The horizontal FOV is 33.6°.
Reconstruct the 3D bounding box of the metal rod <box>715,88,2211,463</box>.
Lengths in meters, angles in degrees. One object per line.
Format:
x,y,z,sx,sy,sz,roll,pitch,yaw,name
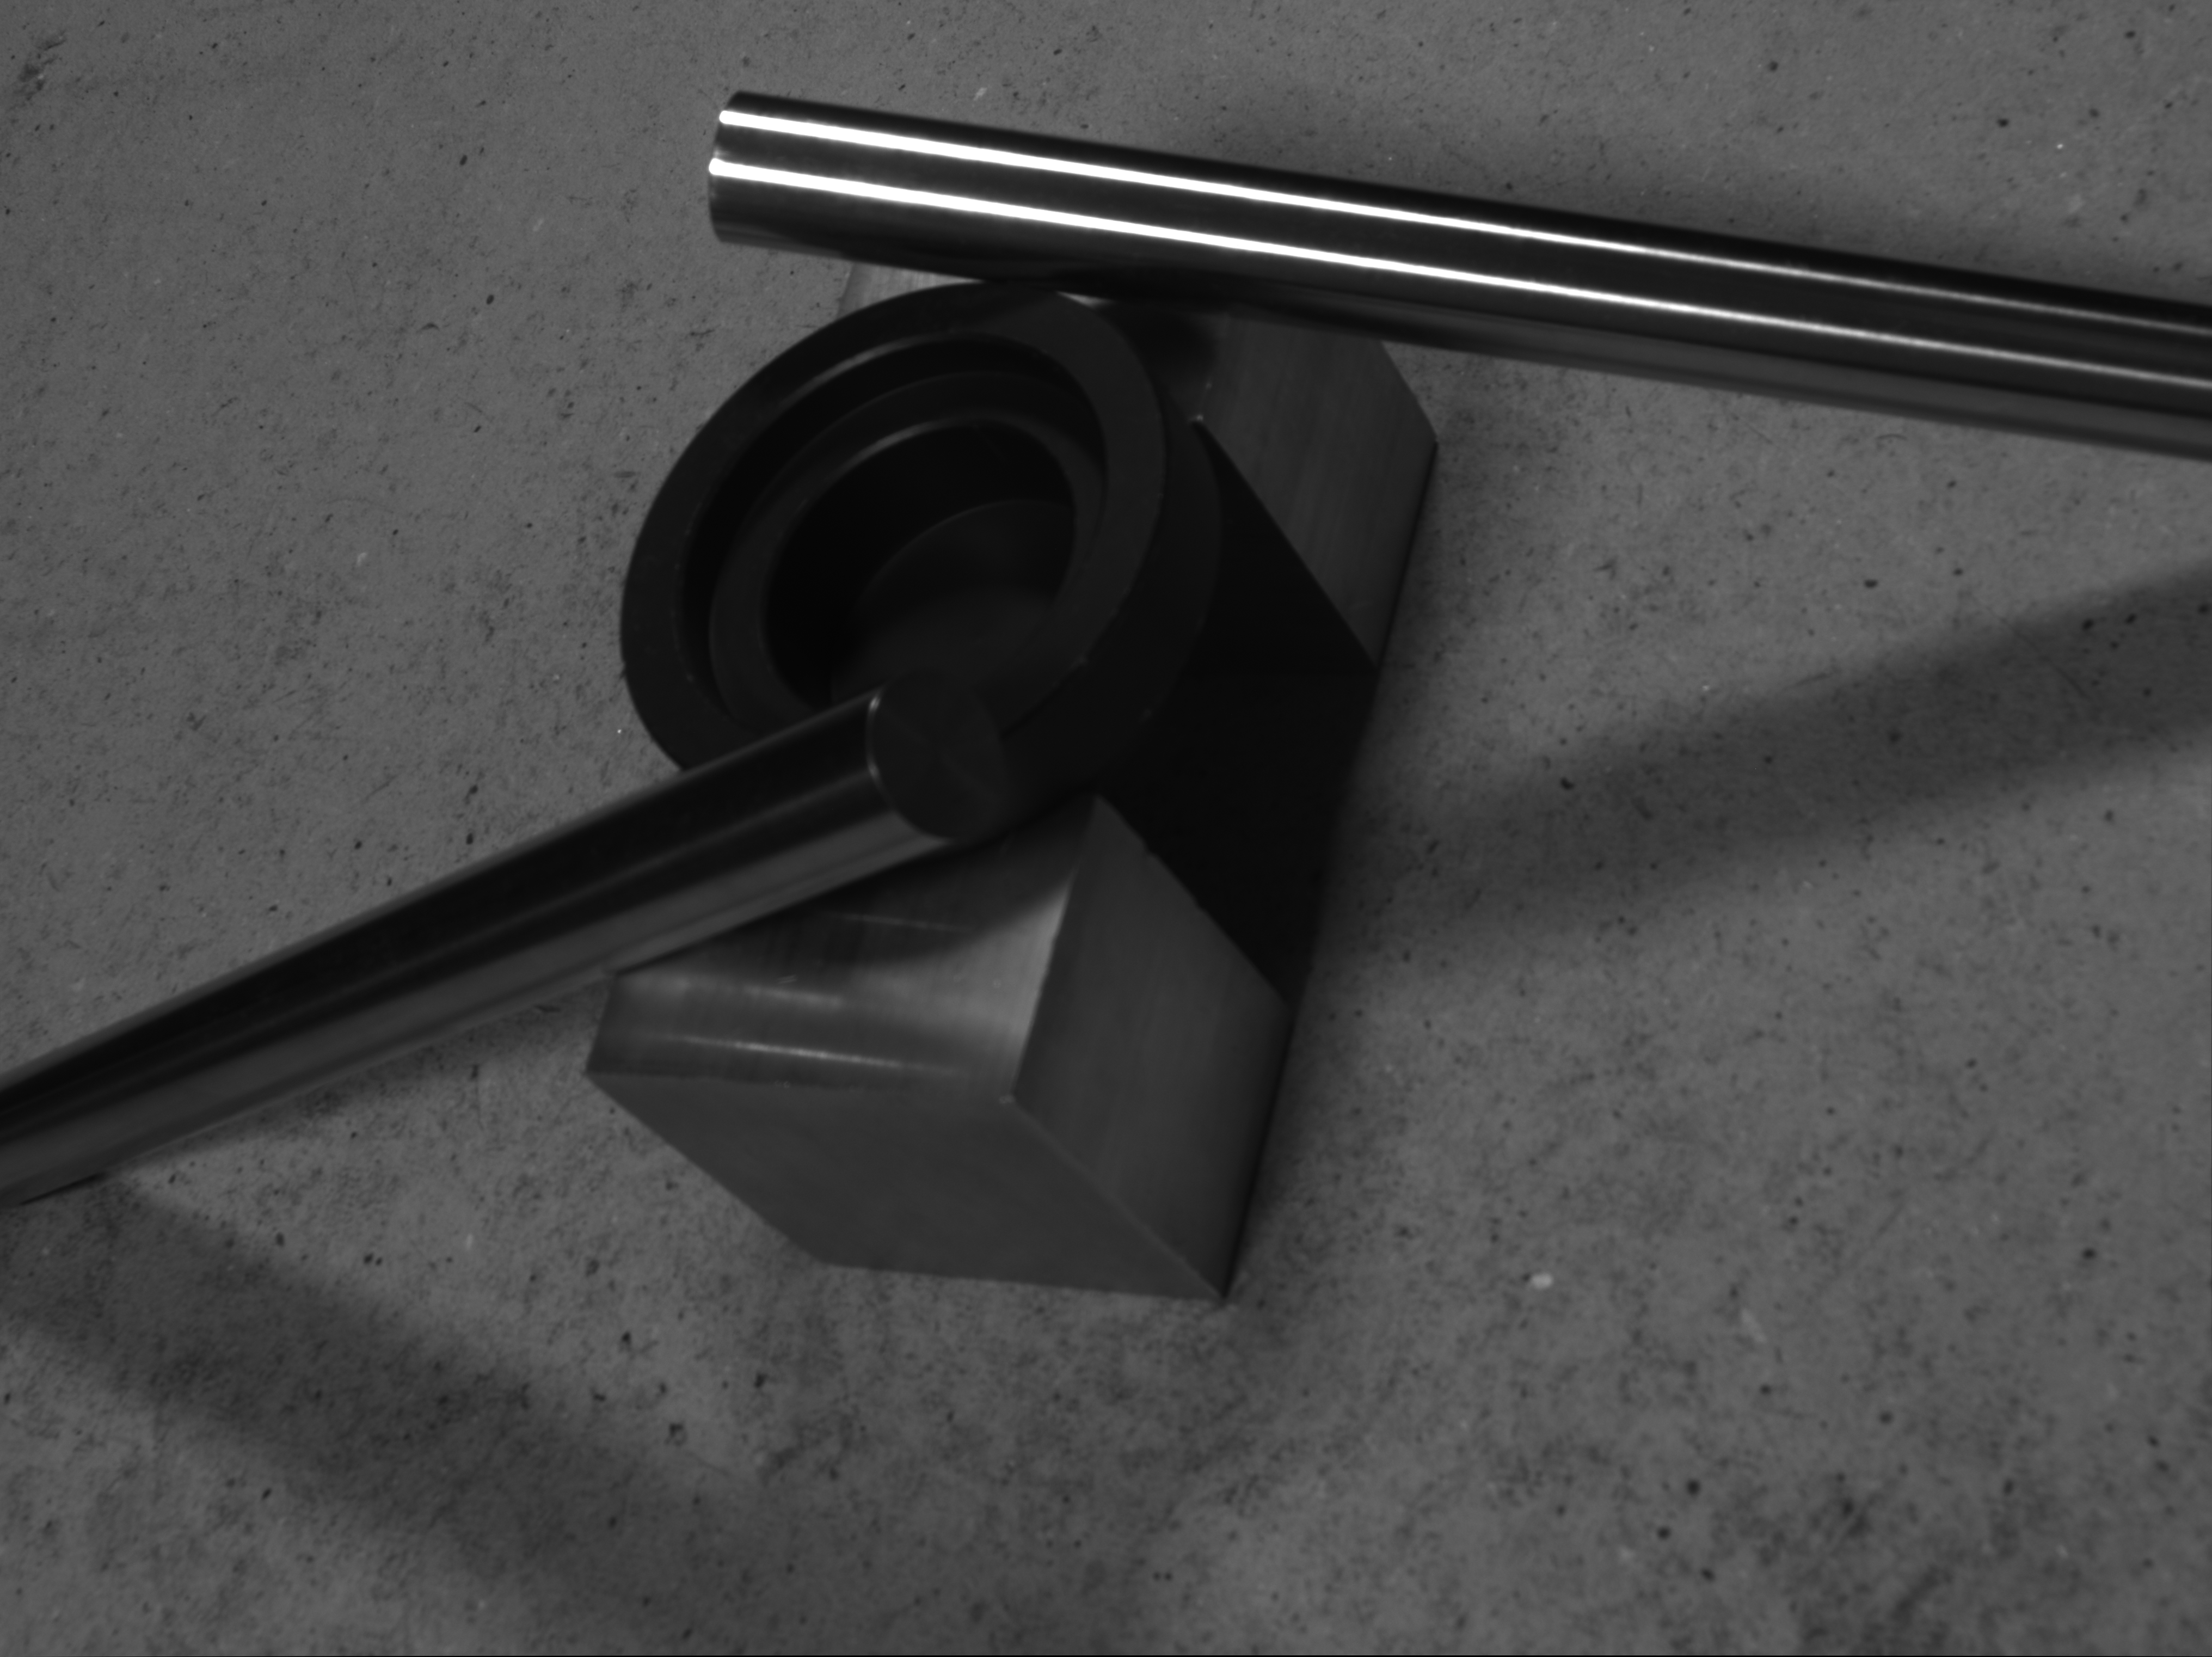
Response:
0.086,-0.084,0.581,0.300,0.025,0.025,10,65,8,metal rod

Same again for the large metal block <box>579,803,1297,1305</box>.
-0.025,0.037,0.600,0.080,0.080,0.050,1,62,29,large metal block

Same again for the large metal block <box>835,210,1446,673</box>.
0.005,-0.069,0.649,0.080,0.080,0.050,1,62,29,large metal block

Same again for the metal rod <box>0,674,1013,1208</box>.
-0.122,0.027,0.622,0.299,0.025,0.025,-20,50,45,metal rod

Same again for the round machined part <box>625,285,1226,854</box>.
-0.025,-0.036,0.593,0.098,0.042,0.098,-13,56,21,round machined part
